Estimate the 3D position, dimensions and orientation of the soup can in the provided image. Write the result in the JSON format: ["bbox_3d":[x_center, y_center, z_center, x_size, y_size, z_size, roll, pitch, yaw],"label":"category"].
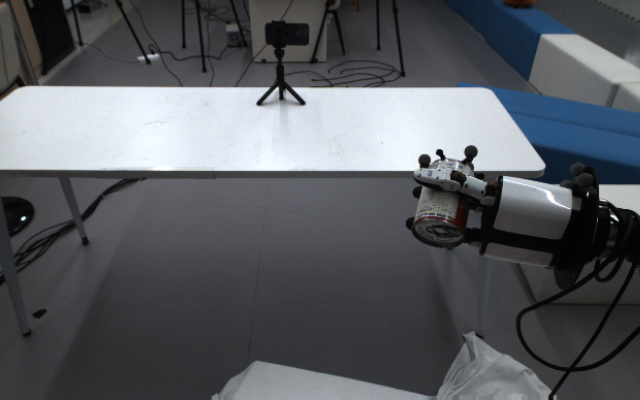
[{"bbox_3d":[0.166,0.000,0.647,0.067,0.067,0.101,12,59,14],"label":"soup can"}]
